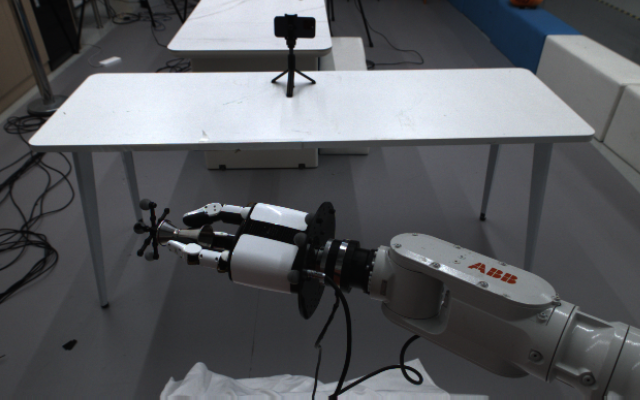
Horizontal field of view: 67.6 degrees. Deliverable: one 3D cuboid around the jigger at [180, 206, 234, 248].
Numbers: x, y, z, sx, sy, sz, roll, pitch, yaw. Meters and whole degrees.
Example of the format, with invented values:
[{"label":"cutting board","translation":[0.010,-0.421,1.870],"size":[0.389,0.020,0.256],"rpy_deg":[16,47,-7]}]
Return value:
[{"label":"jigger","translation":[-0.188,0.049,0.697],"size":[0.071,0.043,0.043],"rpy_deg":[6,35,14]}]
